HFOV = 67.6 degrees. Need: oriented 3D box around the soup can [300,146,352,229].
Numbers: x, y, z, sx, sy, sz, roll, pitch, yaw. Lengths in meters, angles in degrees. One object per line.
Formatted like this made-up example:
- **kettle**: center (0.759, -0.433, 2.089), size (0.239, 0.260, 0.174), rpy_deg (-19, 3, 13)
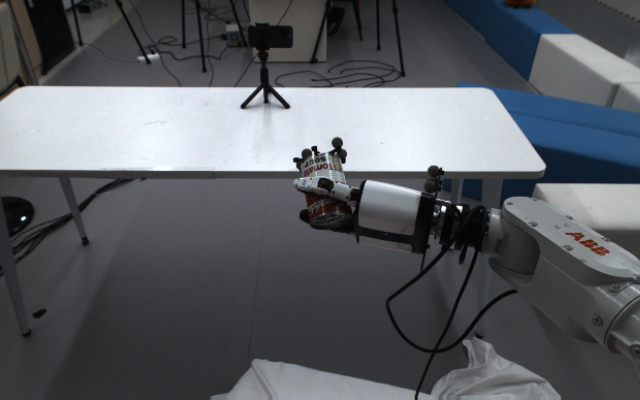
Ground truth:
- **soup can**: center (0.010, -0.013, 0.748), size (0.067, 0.067, 0.101), rpy_deg (-6, 67, -12)
